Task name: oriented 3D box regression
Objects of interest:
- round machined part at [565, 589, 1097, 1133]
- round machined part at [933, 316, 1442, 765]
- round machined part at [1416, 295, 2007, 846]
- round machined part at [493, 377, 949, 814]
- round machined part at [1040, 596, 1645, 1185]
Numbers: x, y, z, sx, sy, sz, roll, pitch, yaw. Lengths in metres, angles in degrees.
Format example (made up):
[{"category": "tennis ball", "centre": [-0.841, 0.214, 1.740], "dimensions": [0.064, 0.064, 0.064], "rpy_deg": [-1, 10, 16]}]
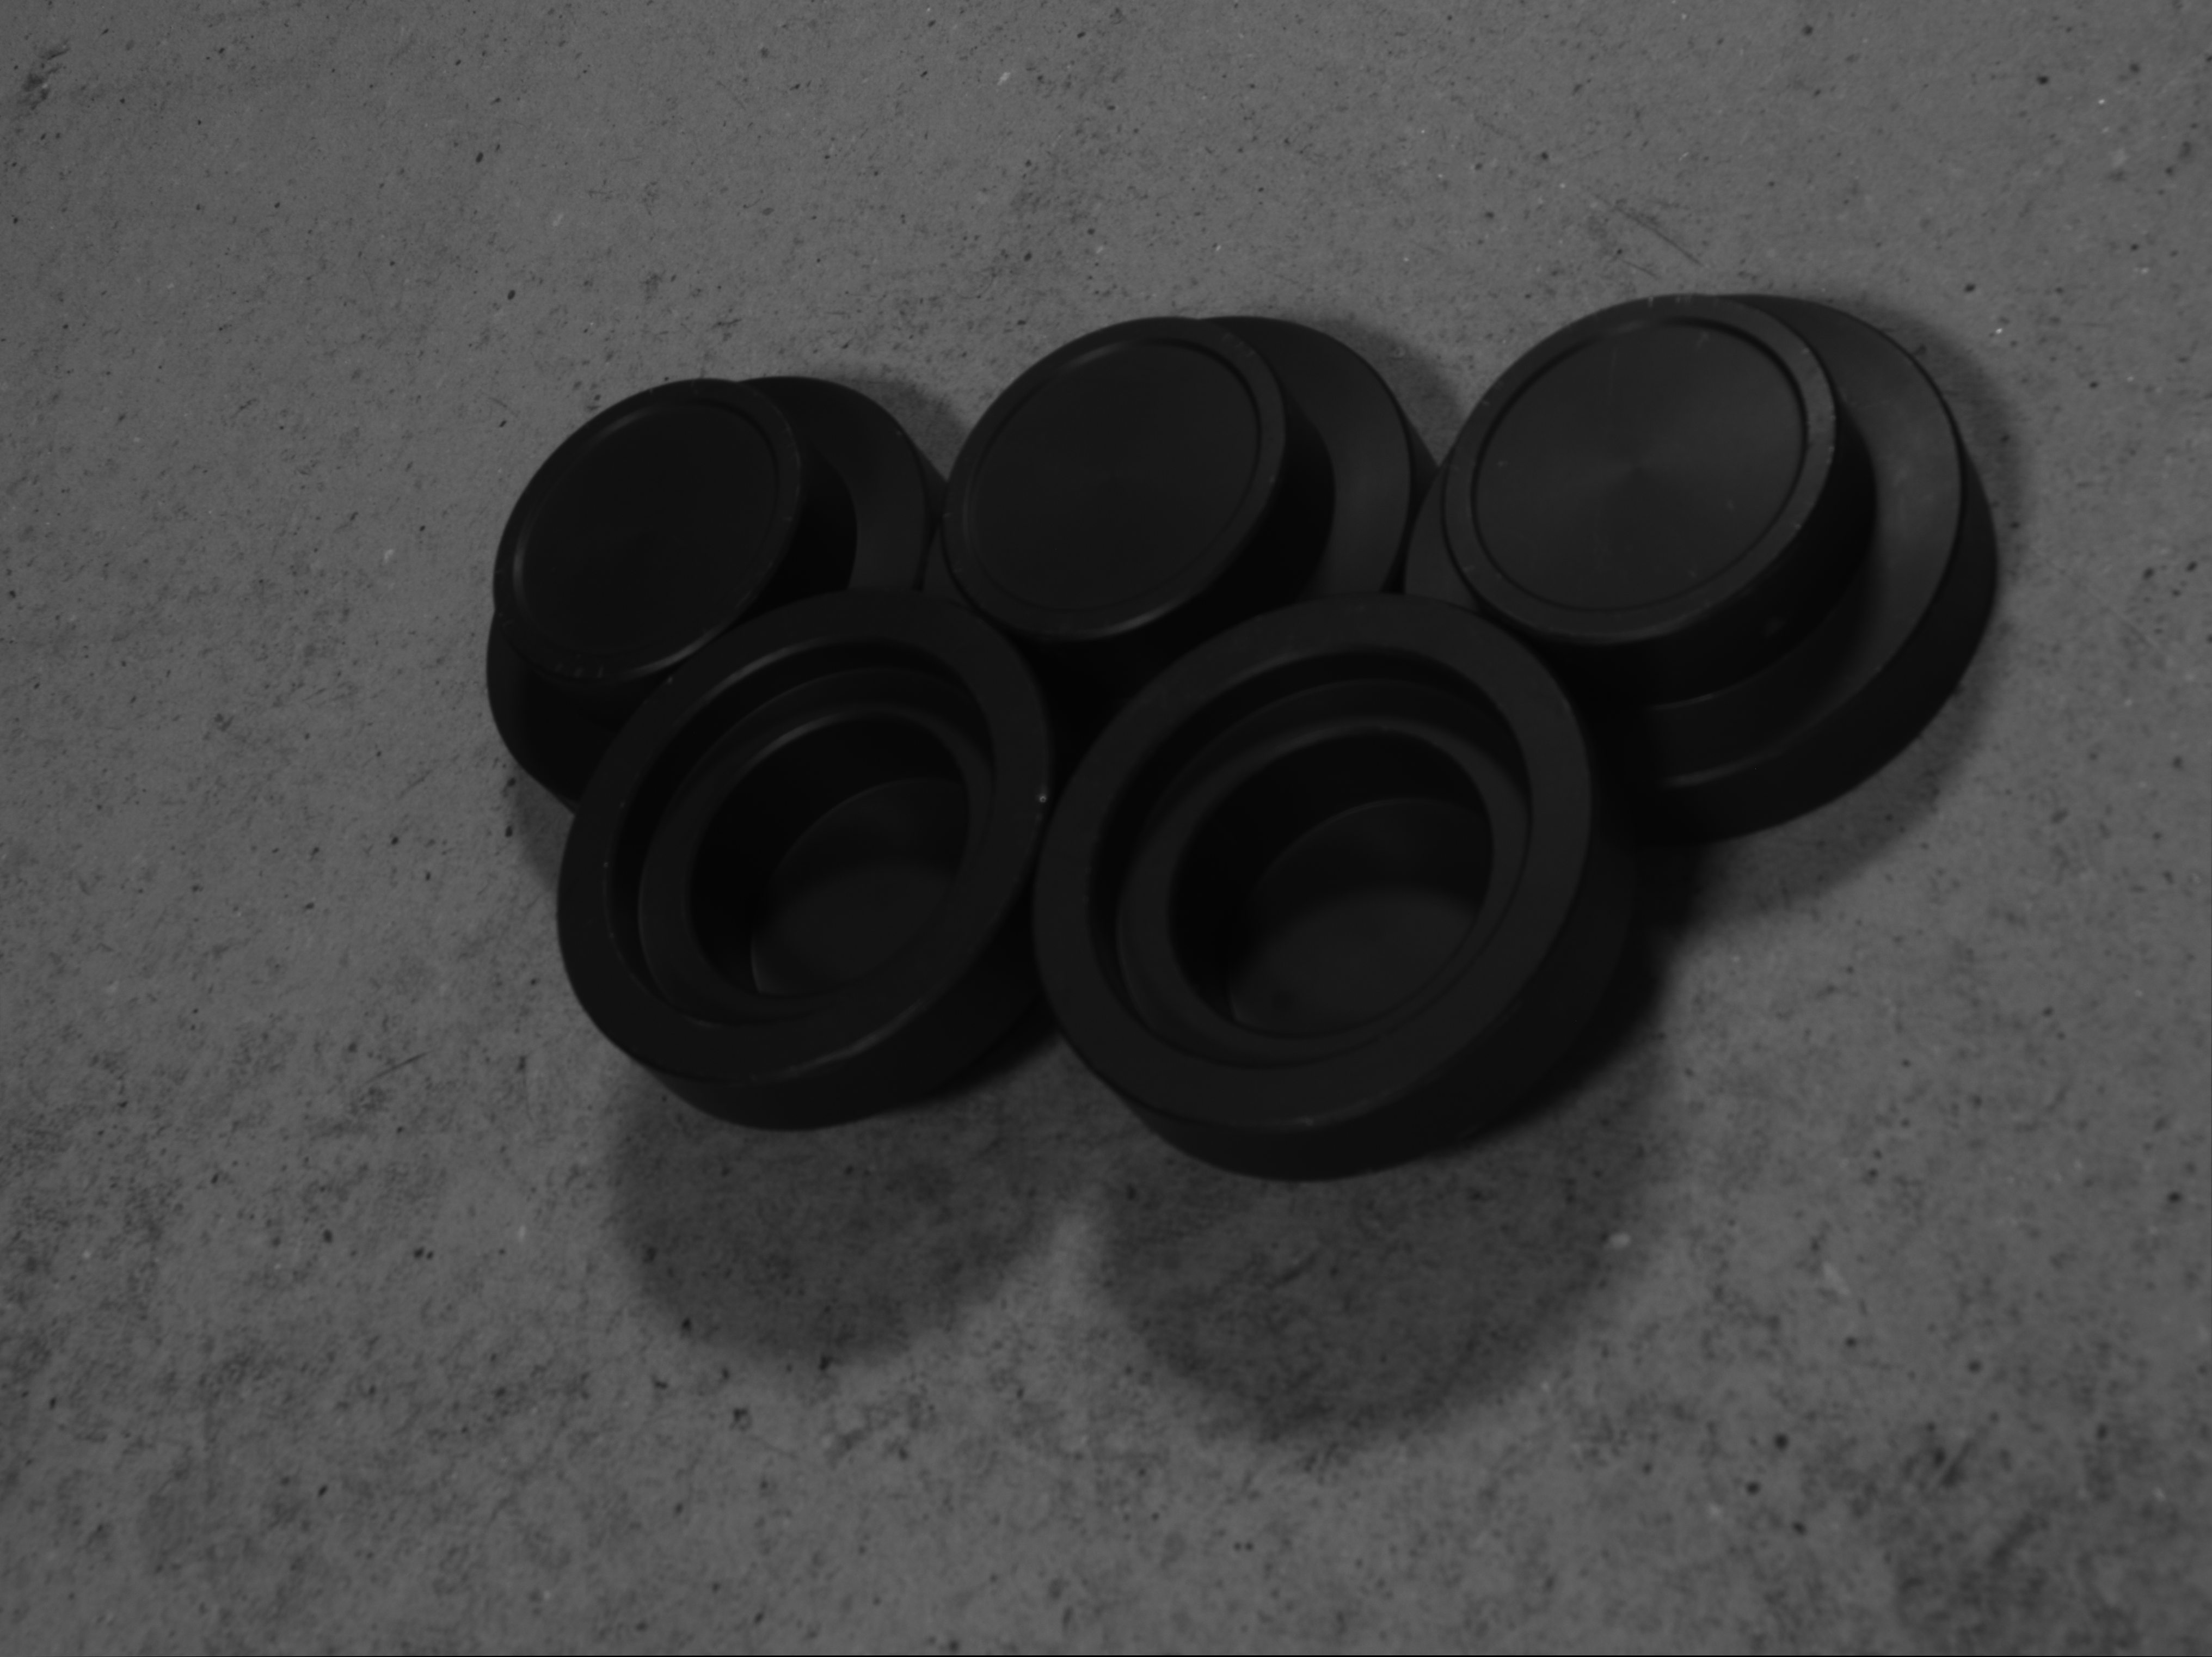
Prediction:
[{"category": "round machined part", "centre": [-0.043, 0.010, 0.651], "dimensions": [0.098, 0.042, 0.098], "rpy_deg": [-13, 56, 21]}, {"category": "round machined part", "centre": [0.011, -0.053, 0.660], "dimensions": [0.098, 0.042, 0.098], "rpy_deg": [-13, 56, 21]}, {"category": "round machined part", "centre": [0.097, -0.050, 0.612], "dimensions": [0.098, 0.042, 0.098], "rpy_deg": [-13, 56, 21]}, {"category": "round machined part", "centre": [-0.077, -0.047, 0.704], "dimensions": [0.098, 0.042, 0.098], "rpy_deg": [-13, 56, 21]}, {"category": "round machined part", "centre": [0.042, 0.014, 0.602], "dimensions": [0.098, 0.042, 0.098], "rpy_deg": [-13, 56, 21]}]
